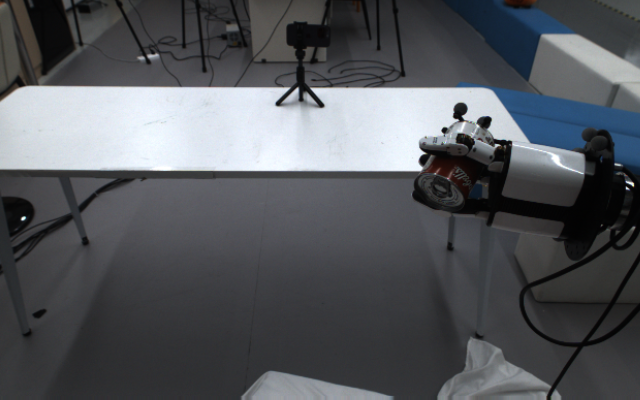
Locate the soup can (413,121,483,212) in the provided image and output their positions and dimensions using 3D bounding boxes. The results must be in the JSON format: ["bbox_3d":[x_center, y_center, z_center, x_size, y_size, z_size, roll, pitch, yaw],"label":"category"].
[{"bbox_3d":[0.175,-0.046,0.619,0.067,0.067,0.101,22,61,26],"label":"soup can"}]
